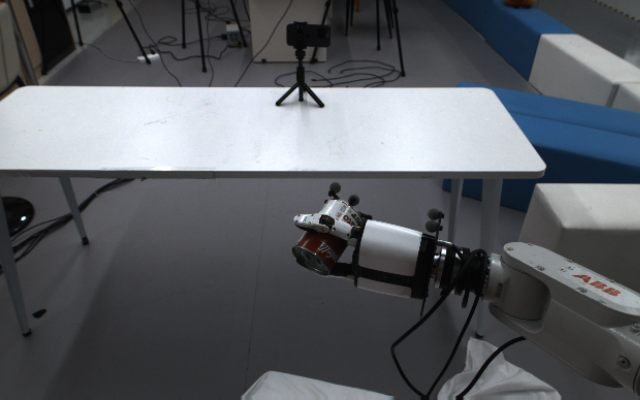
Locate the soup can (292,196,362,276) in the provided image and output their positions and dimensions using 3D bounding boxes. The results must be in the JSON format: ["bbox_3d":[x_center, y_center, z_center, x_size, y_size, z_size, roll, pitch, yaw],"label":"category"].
[{"bbox_3d":[0.013,0.054,0.739,0.067,0.067,0.101,23,60,27],"label":"soup can"}]
